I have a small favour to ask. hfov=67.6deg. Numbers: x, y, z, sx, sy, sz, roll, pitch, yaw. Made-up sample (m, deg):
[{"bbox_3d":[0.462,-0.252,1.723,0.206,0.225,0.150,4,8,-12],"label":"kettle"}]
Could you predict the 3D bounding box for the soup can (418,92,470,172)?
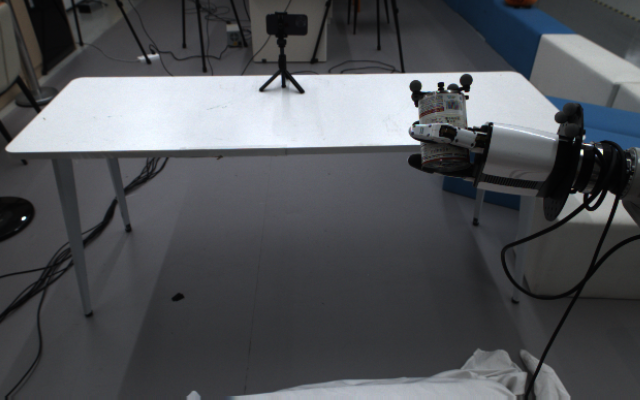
[{"bbox_3d":[0.176,-0.096,0.684,0.067,0.101,0.067,-1,-9,0],"label":"soup can"}]
